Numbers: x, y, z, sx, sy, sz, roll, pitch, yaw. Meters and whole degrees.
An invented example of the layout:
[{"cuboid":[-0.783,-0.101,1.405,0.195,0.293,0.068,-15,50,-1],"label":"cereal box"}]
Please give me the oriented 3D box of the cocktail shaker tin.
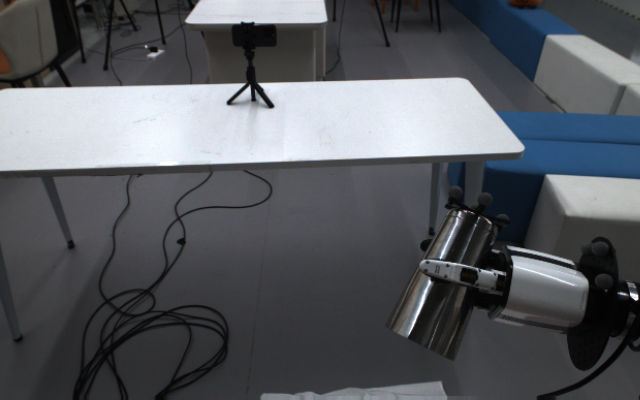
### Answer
[{"cuboid":[0.161,0.098,0.607,0.093,0.093,0.170,21,81,25],"label":"cocktail shaker tin"}]
